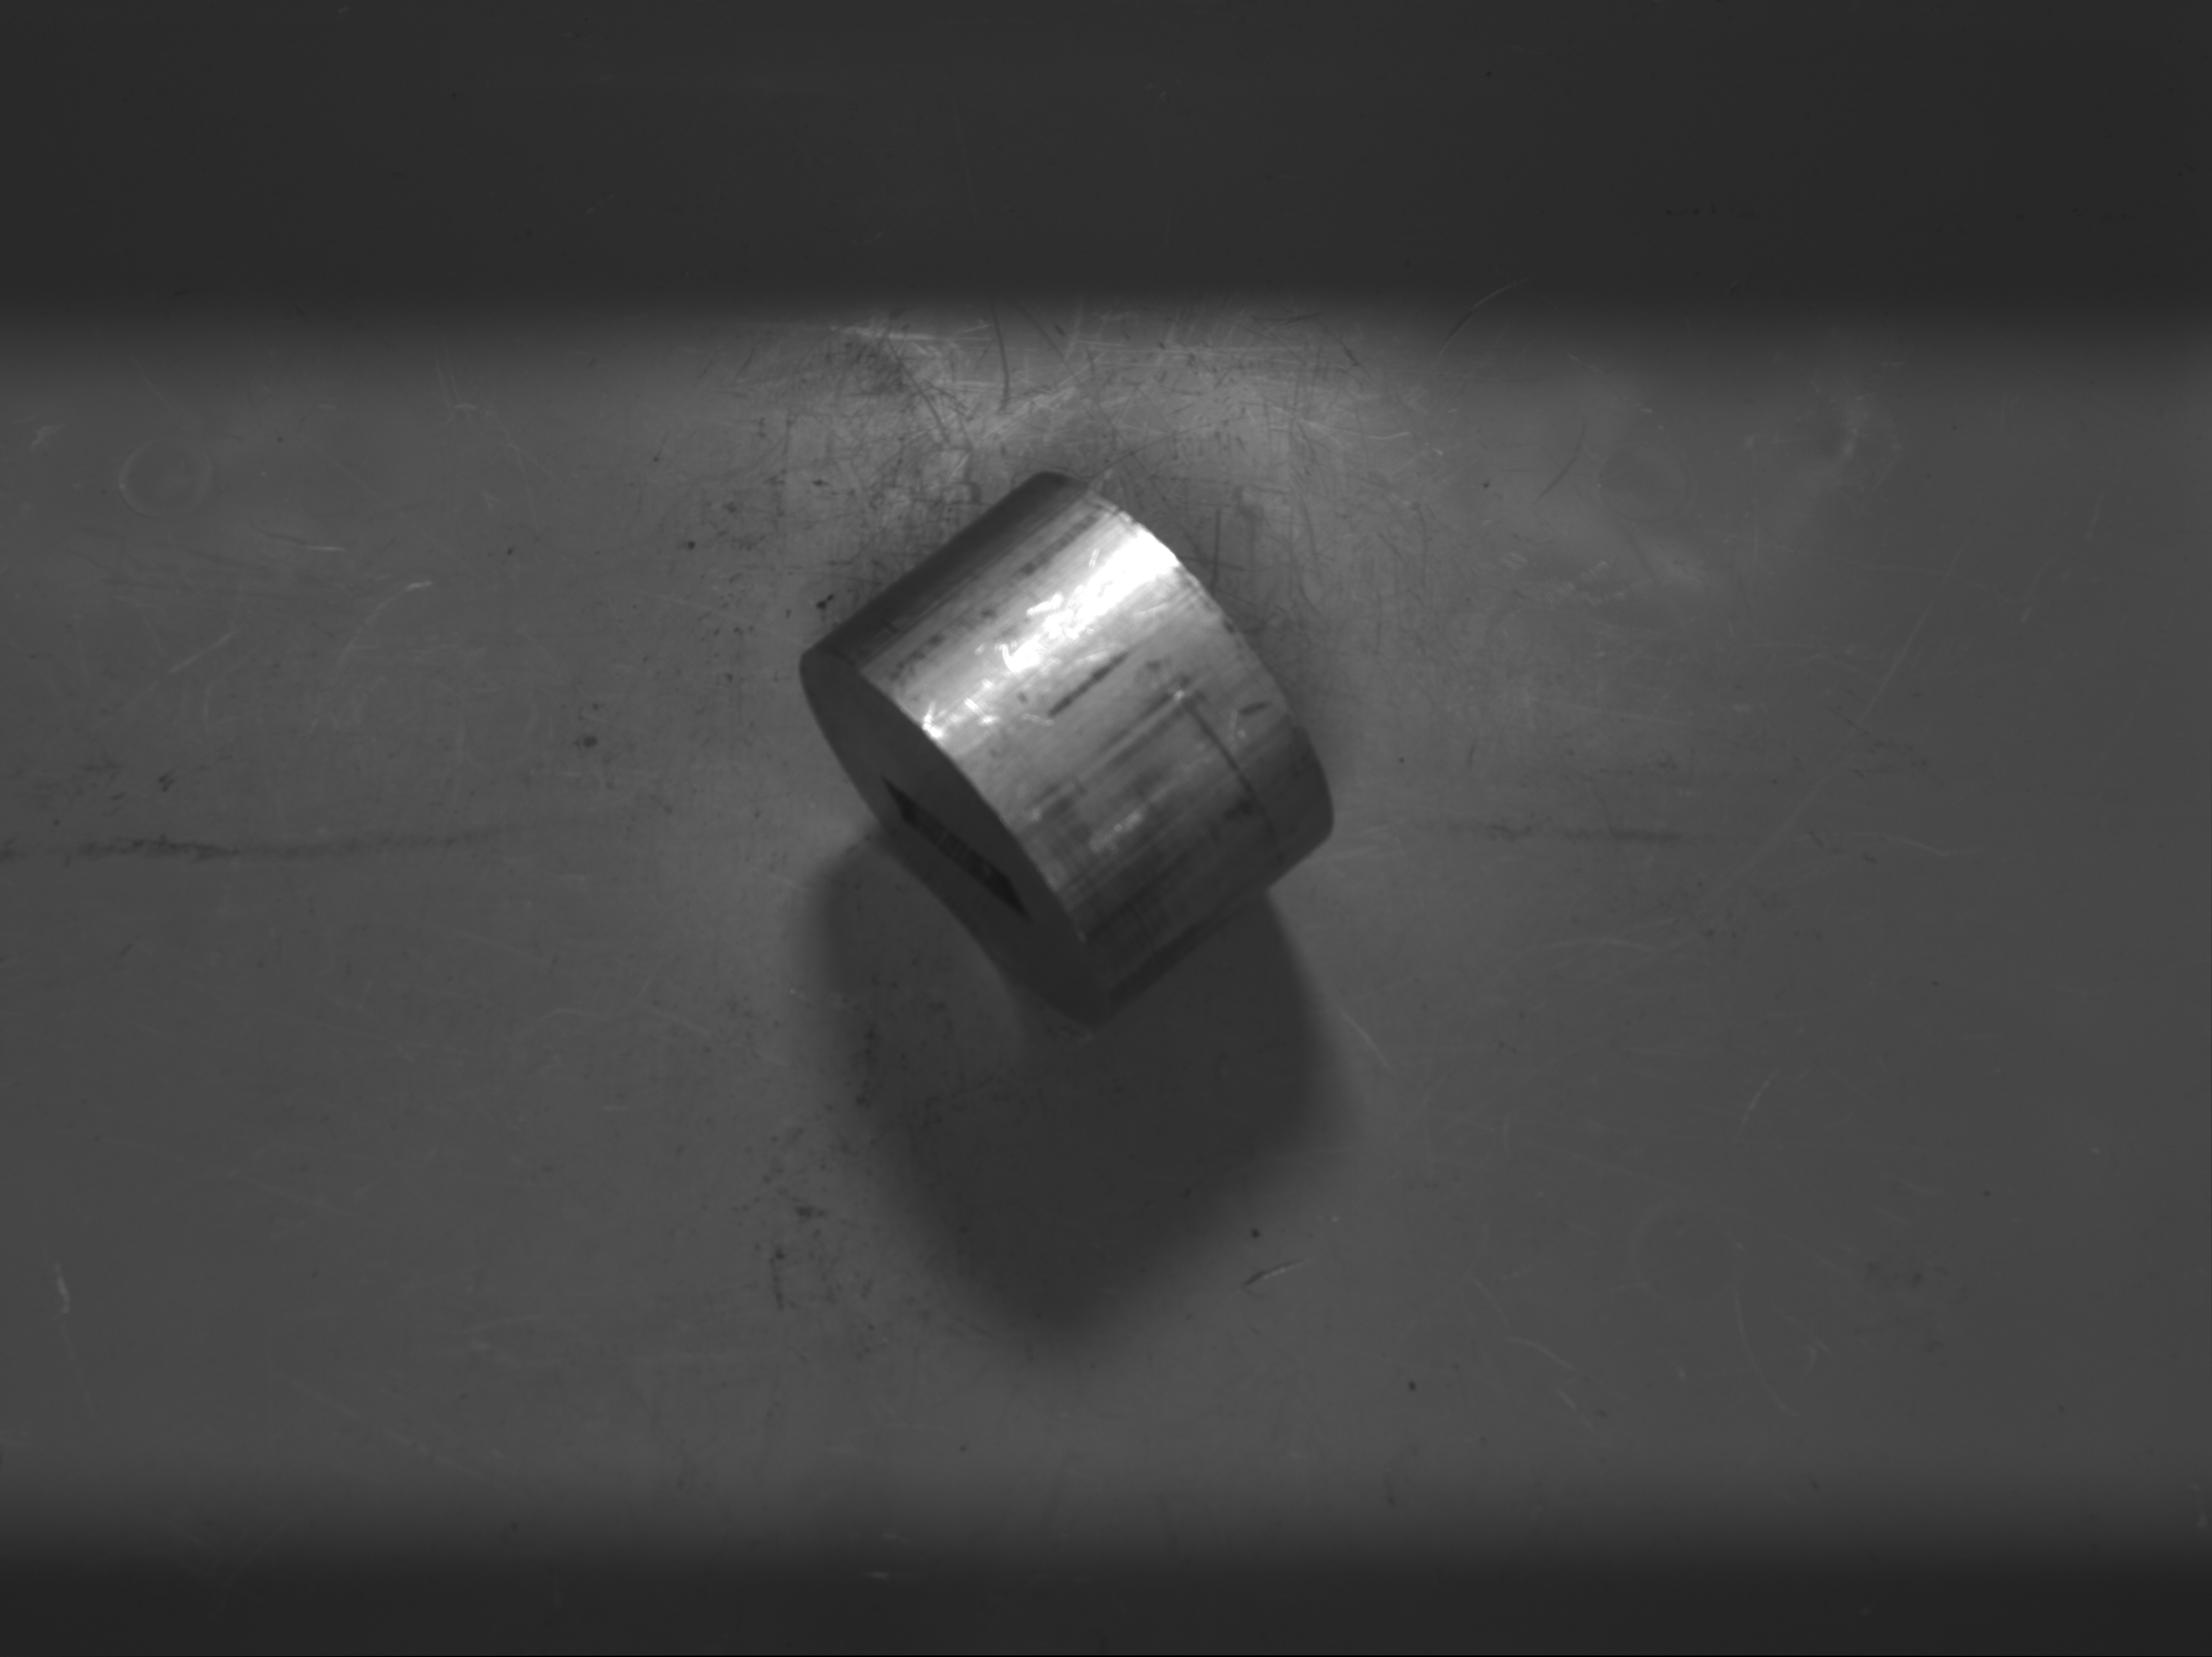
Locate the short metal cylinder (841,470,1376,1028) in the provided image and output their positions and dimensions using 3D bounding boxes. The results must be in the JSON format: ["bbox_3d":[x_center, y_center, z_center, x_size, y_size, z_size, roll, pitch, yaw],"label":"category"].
[{"bbox_3d":[0.000,-0.013,0.618,0.050,0.080,0.080,-39,74,-13],"label":"short metal cylinder"}]
